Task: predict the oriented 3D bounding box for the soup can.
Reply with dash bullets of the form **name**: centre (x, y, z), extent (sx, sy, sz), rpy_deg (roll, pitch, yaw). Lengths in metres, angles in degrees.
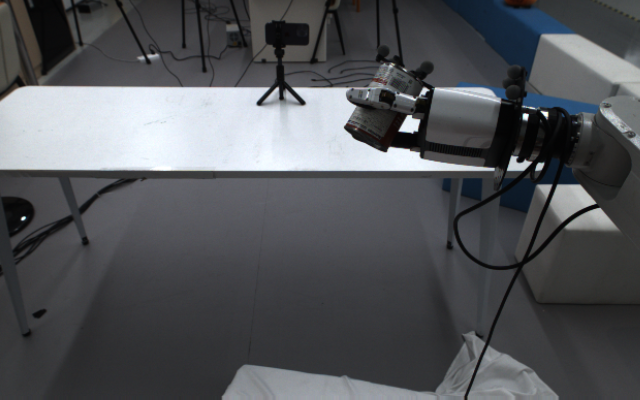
- **soup can**: centre (0.086, -0.127, 0.659), extent (0.067, 0.101, 0.067), rpy_deg (30, 1, -1)
